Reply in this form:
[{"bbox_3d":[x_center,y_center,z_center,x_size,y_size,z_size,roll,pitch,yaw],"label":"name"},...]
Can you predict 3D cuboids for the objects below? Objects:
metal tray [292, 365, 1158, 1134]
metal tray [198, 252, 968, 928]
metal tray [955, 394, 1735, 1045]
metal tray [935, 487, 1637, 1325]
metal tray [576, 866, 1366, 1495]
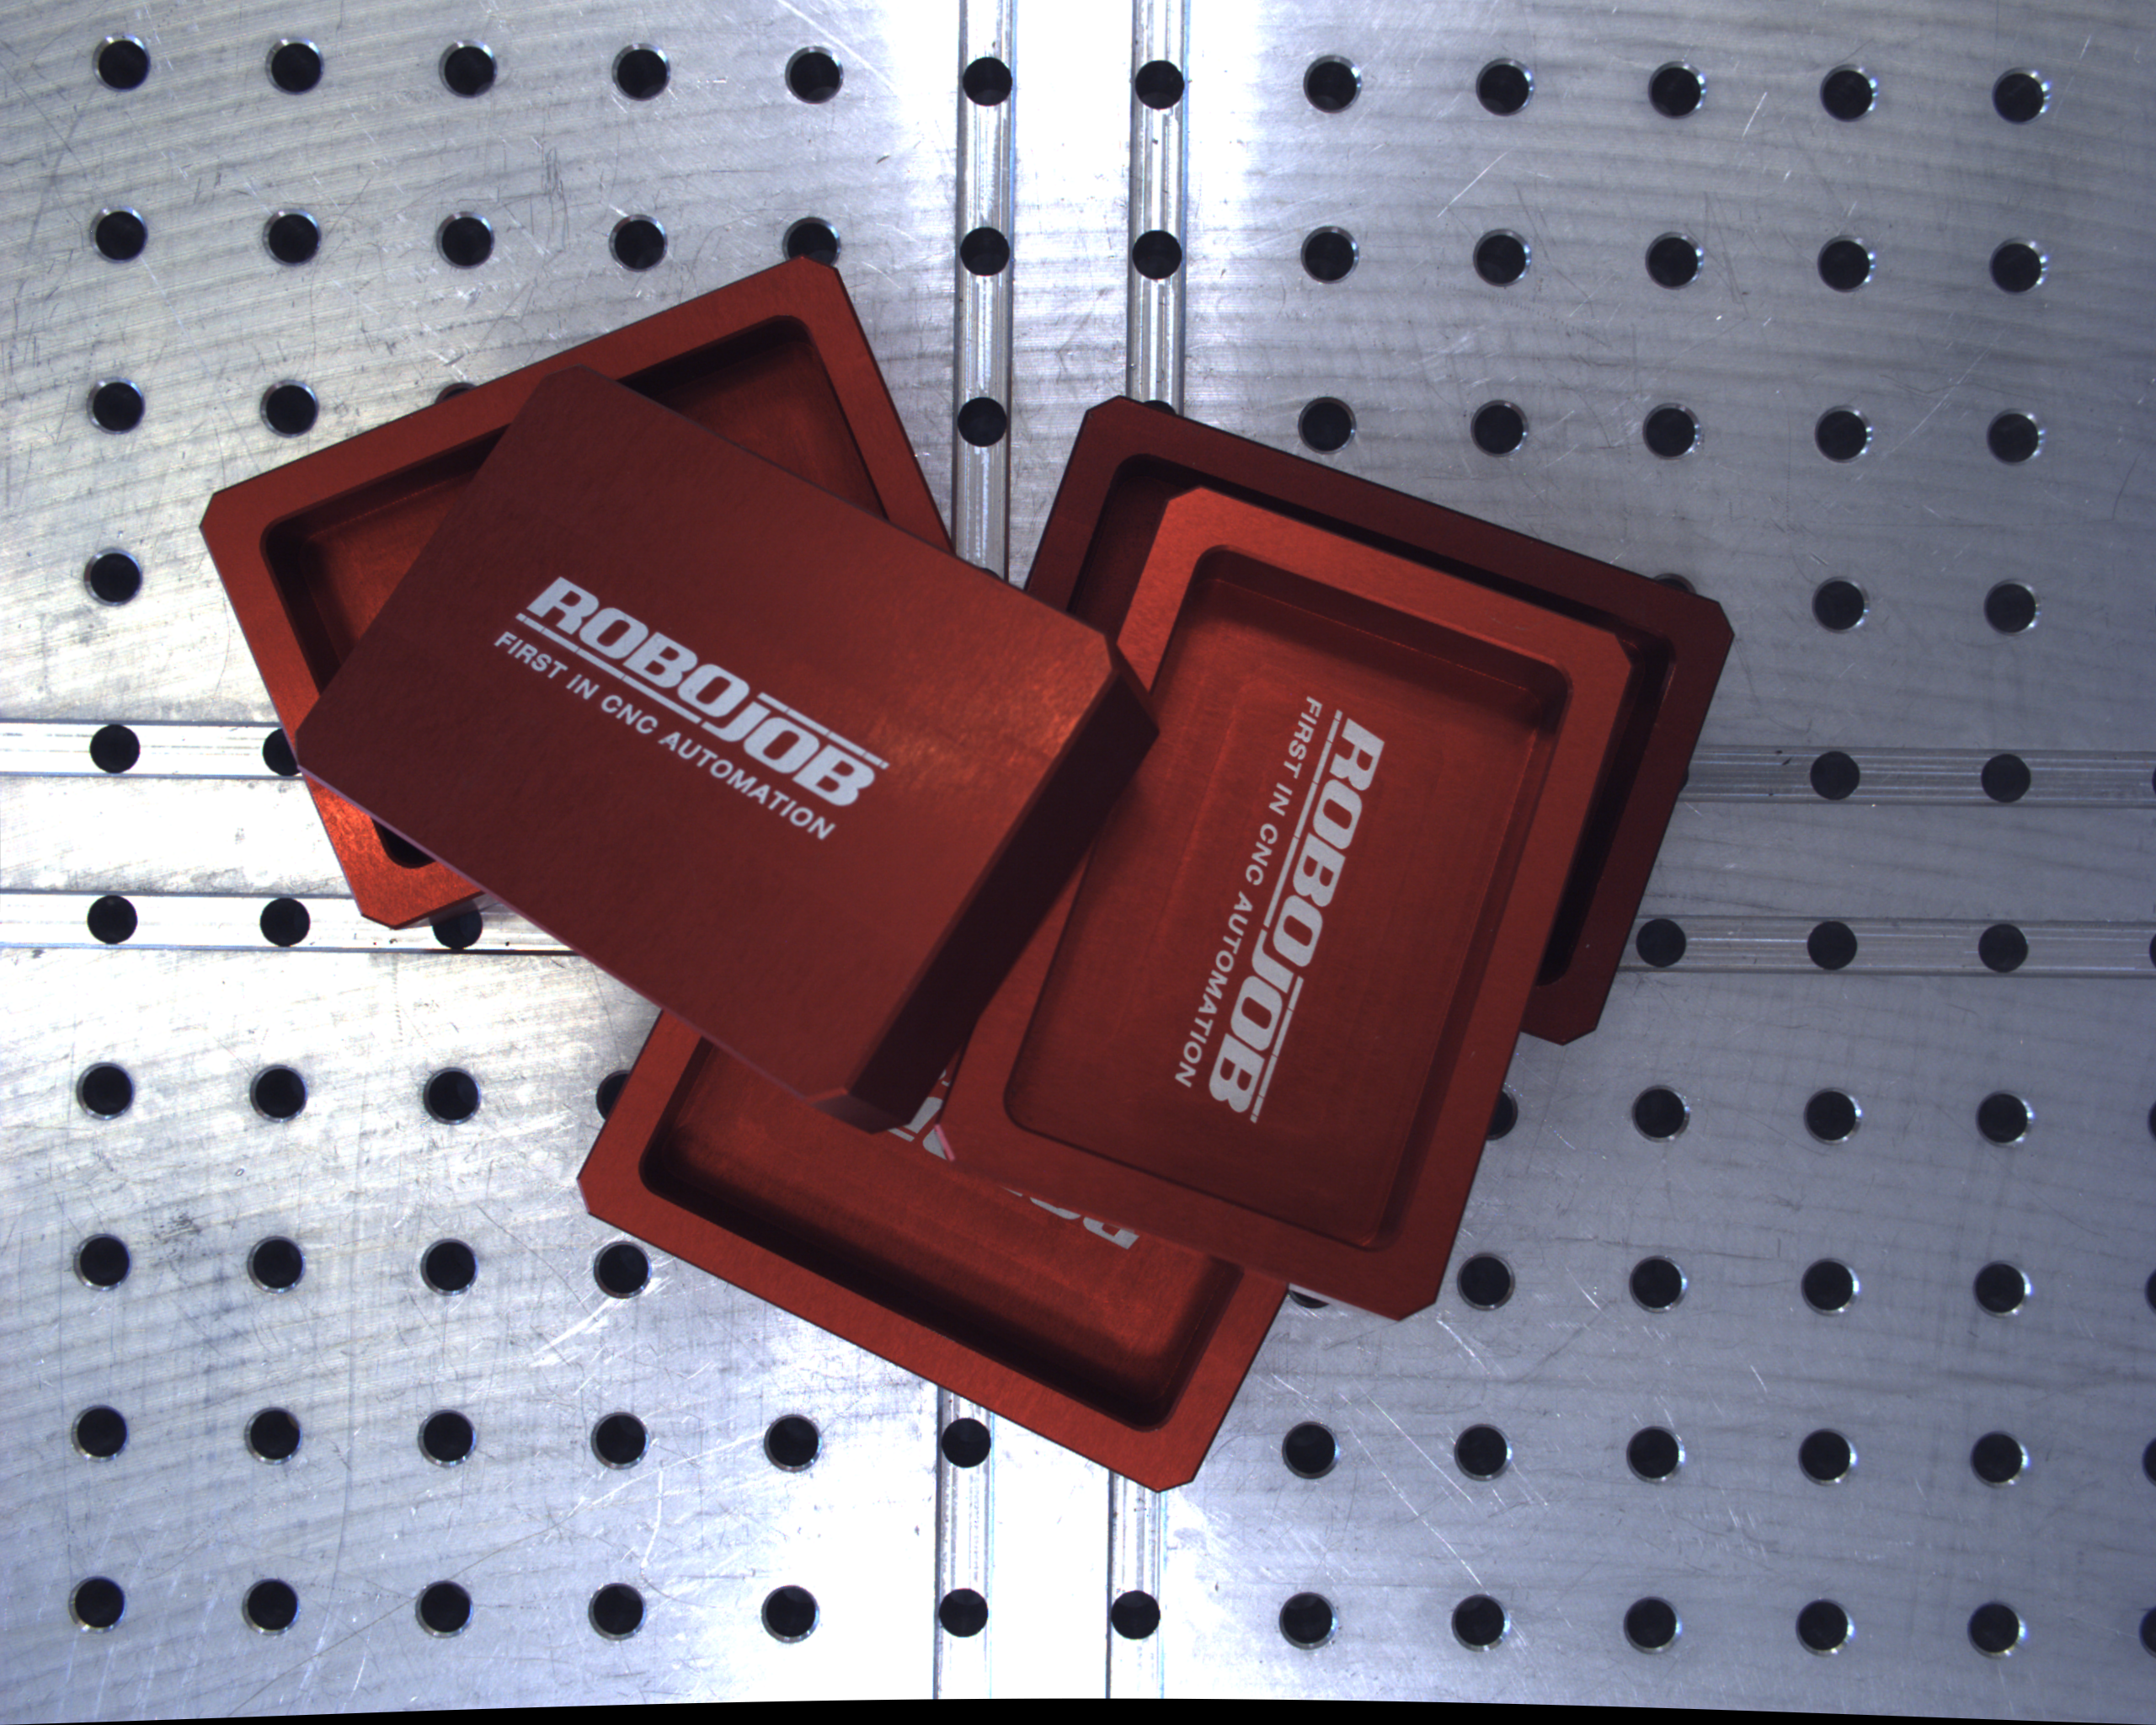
[{"bbox_3d":[-0.064,-0.023,0.370,0.130,0.030,0.090,29,82,22],"label":"metal tray"},{"bbox_3d":[-0.091,-0.052,0.410,0.130,0.030,0.090,-22,90,0],"label":"metal tray"},{"bbox_3d":[0.050,-0.027,0.410,0.131,0.030,0.090,19,90,1],"label":"metal tray"},{"bbox_3d":[0.038,0.008,0.380,0.090,0.030,0.130,20,78,0],"label":"metal tray"},{"bbox_3d":[-0.019,0.054,0.411,0.130,0.030,0.090,26,90,0],"label":"metal tray"}]
